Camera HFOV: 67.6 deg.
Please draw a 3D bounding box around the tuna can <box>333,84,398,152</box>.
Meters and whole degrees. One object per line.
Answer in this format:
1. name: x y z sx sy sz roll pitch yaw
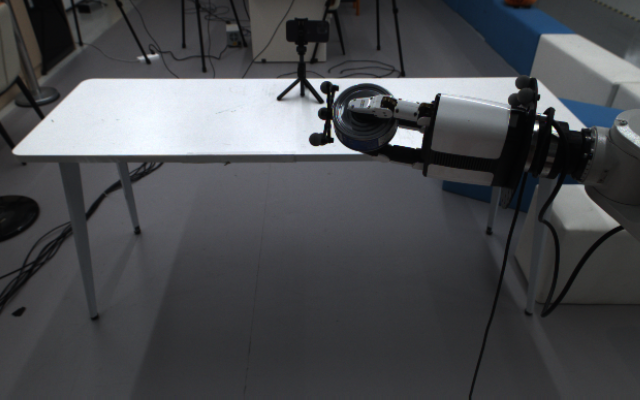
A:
1. tuna can: 0.062 -0.105 0.628 0.085 0.034 0.085 -2 69 6
